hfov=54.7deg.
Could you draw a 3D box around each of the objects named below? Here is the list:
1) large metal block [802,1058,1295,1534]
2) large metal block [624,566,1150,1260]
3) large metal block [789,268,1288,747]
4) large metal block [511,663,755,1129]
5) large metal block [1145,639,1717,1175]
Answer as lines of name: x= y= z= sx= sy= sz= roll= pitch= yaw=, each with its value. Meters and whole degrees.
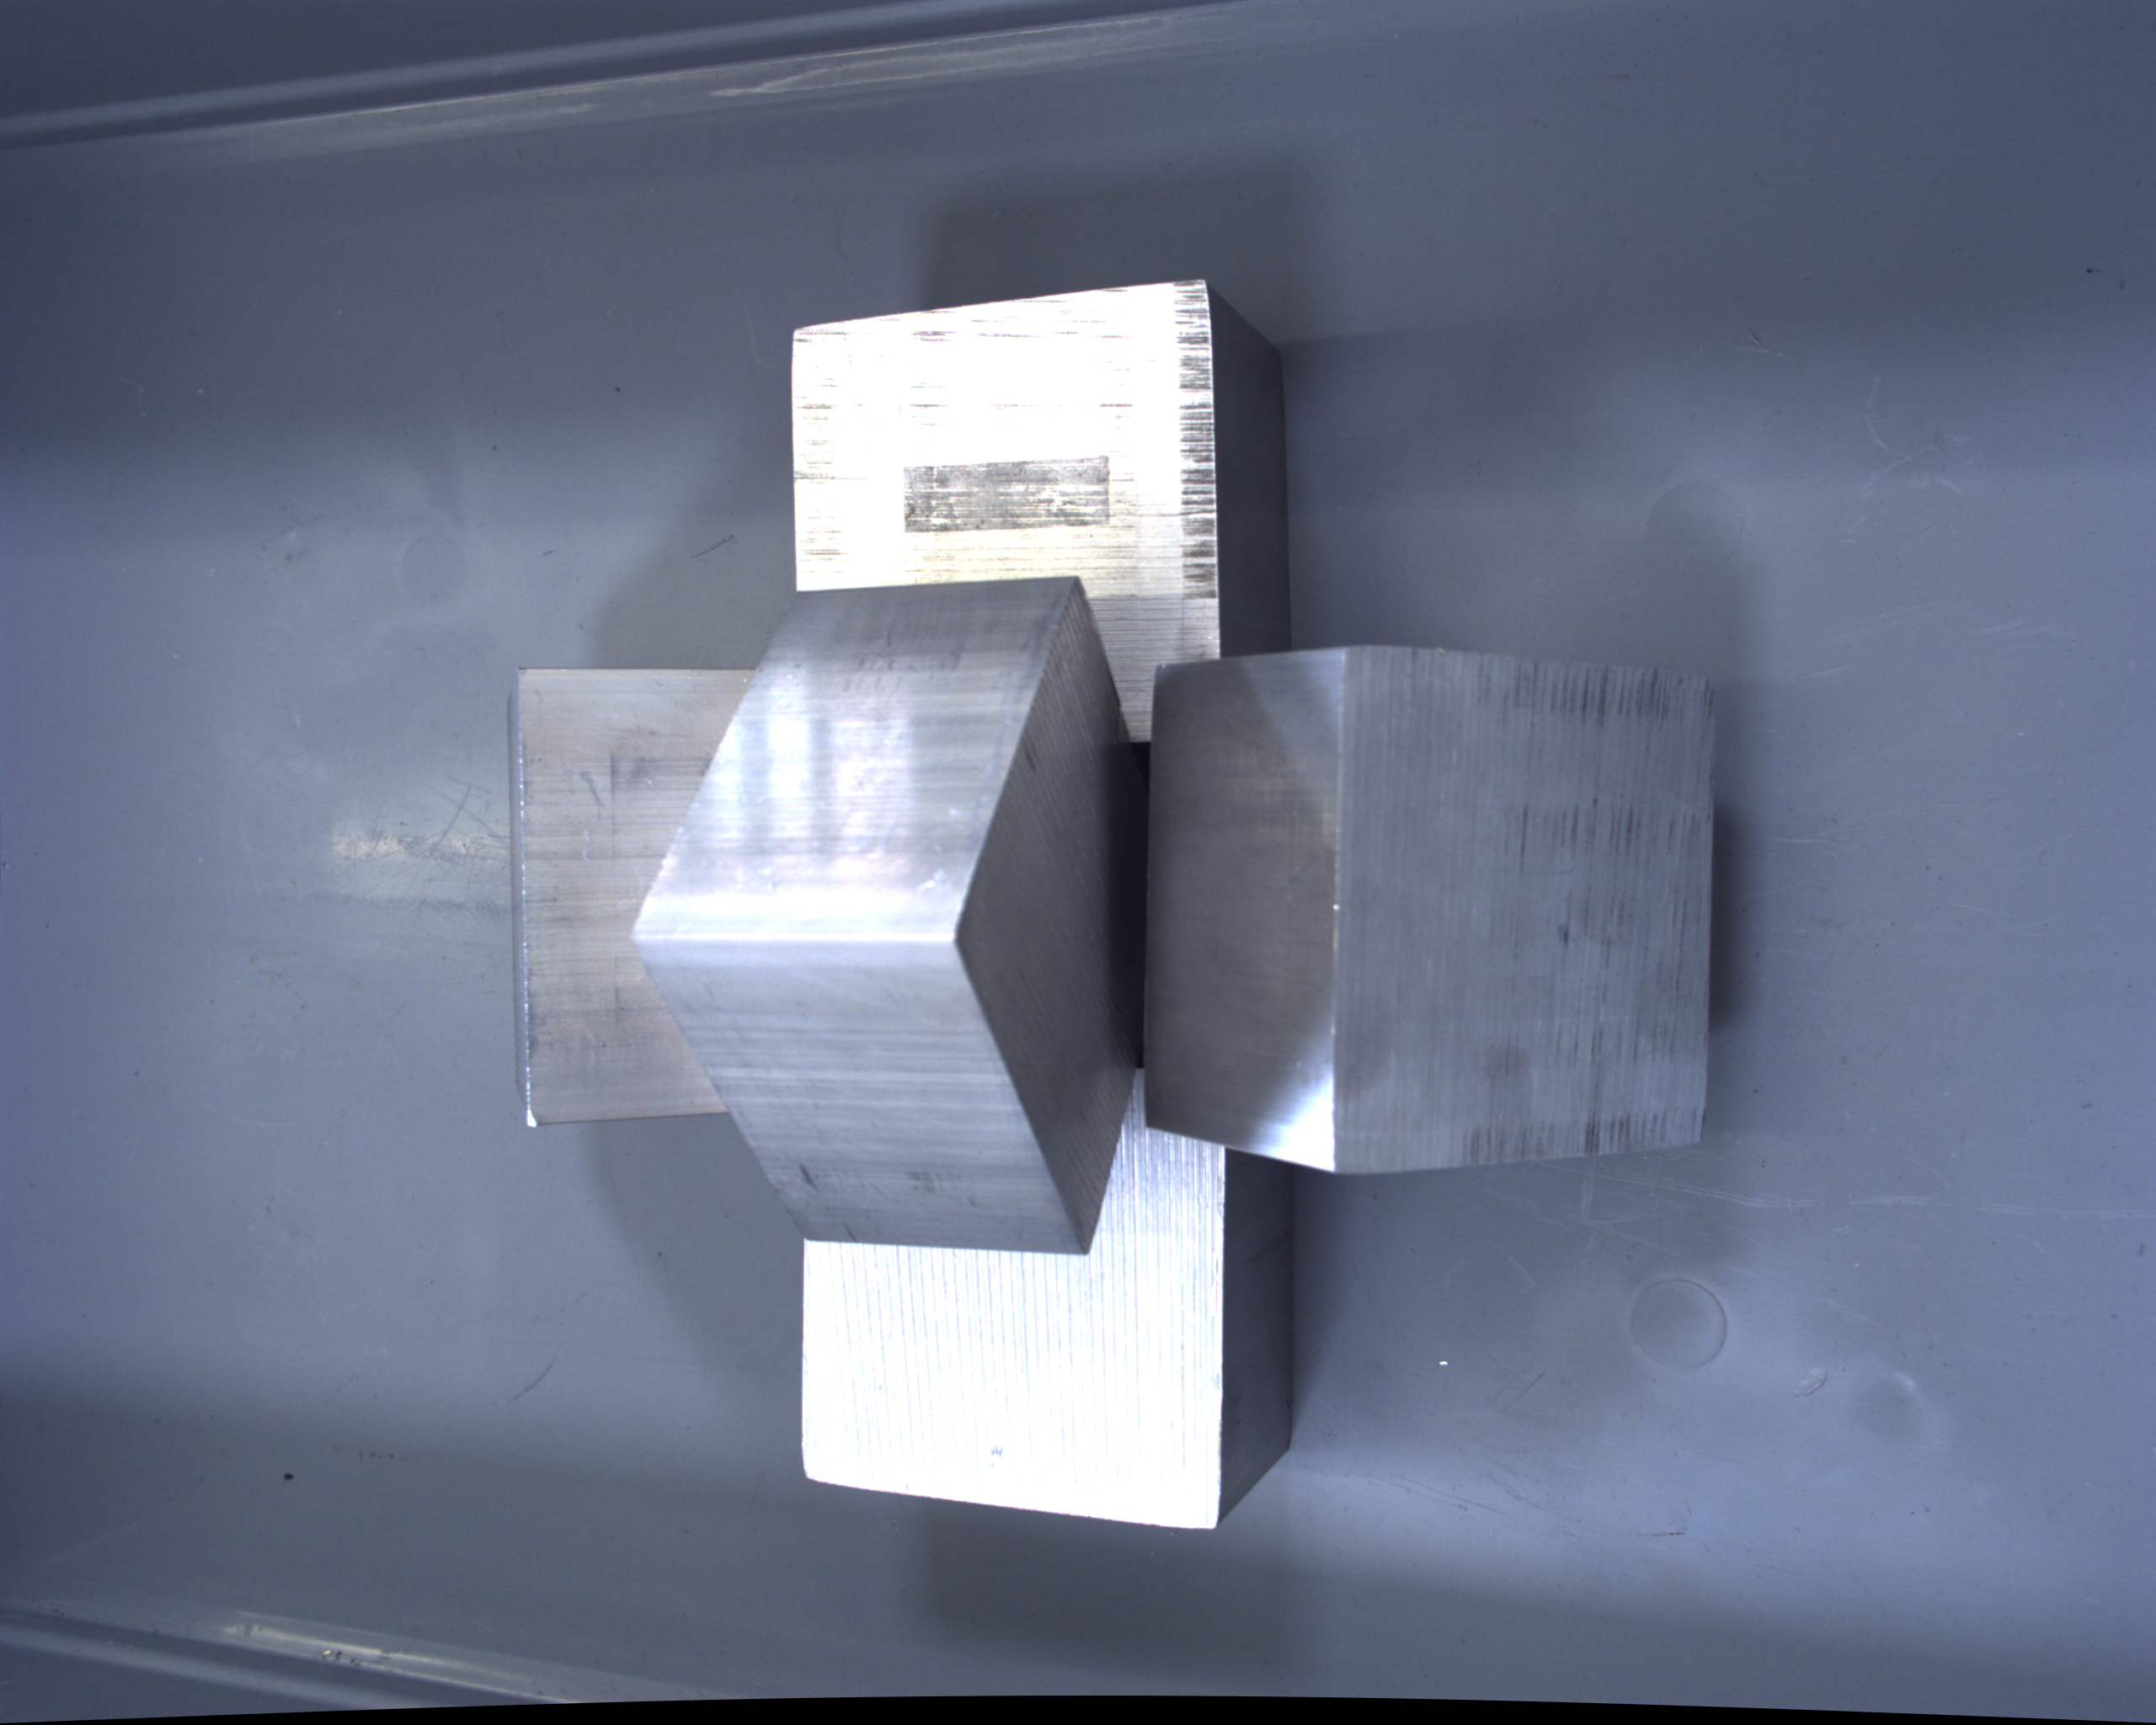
large metal block: x=-0.004 y=0.076 z=0.397 sx=0.080 sy=0.050 sz=0.080 roll=1 pitch=90 yaw=20
large metal block: x=-0.023 y=0.009 z=0.346 sx=0.050 sy=0.080 sz=0.080 roll=-1 pitch=46 yaw=19
large metal block: x=-0.006 y=-0.062 z=0.395 sx=0.080 sy=0.050 sz=0.080 roll=-2 pitch=90 yaw=20
large metal block: x=-0.082 y=0.005 z=0.401 sx=0.050 sy=0.080 sz=0.080 roll=-1 pitch=90 yaw=-16
large metal block: x=0.059 y=0.006 z=0.351 sx=0.050 sy=0.081 sz=0.079 roll=2 pitch=92 yaw=58
